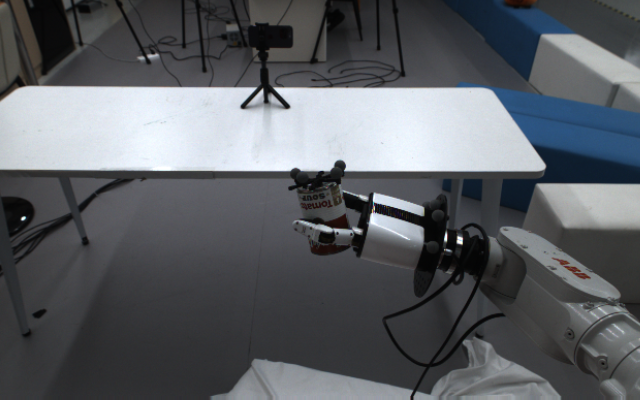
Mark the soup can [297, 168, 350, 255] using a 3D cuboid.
[{"bbox_3d":[0.009,0.023,0.724,0.067,0.101,0.067,-12,17,4],"label":"soup can"}]
